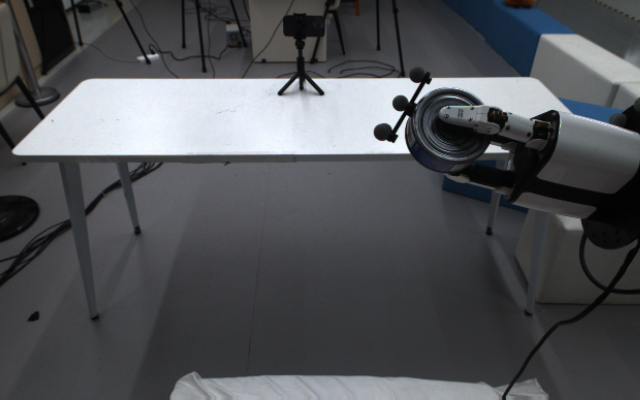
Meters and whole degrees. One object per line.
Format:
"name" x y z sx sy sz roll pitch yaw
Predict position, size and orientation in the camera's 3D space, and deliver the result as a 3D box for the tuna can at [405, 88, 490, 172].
"tuna can" 0.138 -0.076 0.512 0.085 0.034 0.085 1 75 -5
